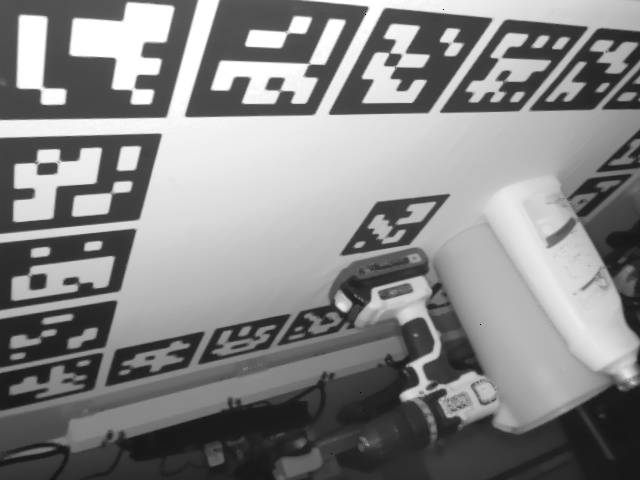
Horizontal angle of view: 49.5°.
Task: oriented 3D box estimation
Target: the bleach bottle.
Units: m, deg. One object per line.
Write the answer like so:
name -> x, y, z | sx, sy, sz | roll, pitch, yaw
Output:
bleach bottle -> 0.323, 0.059, 0.763 | 0.104, 0.251, 0.067 | -10, 145, -27

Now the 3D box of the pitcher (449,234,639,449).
pitcher -> 0.268, 0.109, 0.833 | 0.190, 0.242, 0.132 | -21, 148, -11

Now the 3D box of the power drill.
power drill -> 0.115, 0.125, 0.757 | 0.187, 0.187, 0.056 | -3, 140, -25
